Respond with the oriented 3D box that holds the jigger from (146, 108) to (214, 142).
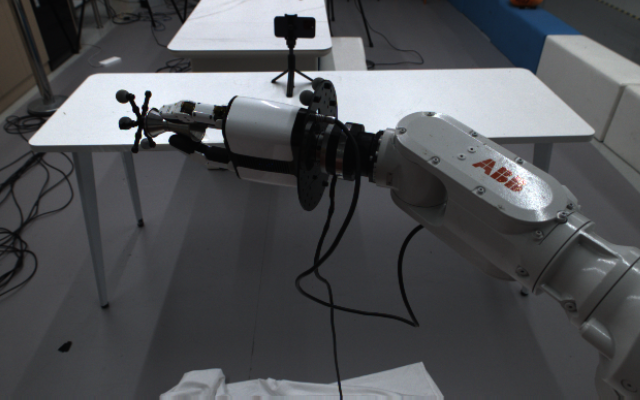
[{"bbox_3d":[-0.189,-0.106,0.646,0.071,0.043,0.043,5,34,13],"label":"jigger"}]
